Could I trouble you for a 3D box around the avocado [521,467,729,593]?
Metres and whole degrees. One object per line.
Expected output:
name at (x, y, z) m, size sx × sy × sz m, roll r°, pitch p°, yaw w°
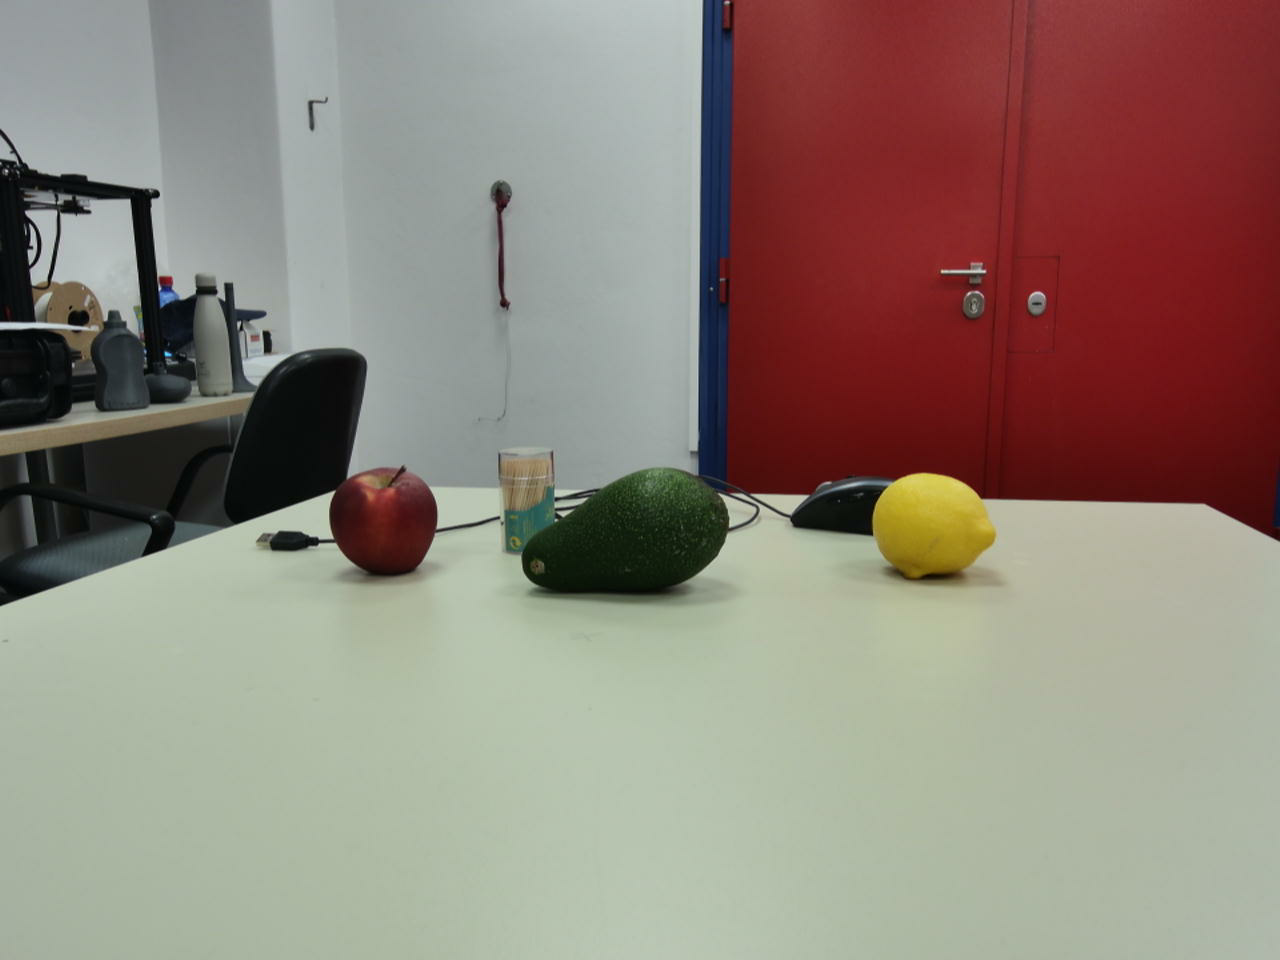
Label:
avocado at (-0.006, 0.029, 0.615) m, size 0.123 × 0.076 × 0.074 m, roll 2°, pitch 8°, yaw 17°
